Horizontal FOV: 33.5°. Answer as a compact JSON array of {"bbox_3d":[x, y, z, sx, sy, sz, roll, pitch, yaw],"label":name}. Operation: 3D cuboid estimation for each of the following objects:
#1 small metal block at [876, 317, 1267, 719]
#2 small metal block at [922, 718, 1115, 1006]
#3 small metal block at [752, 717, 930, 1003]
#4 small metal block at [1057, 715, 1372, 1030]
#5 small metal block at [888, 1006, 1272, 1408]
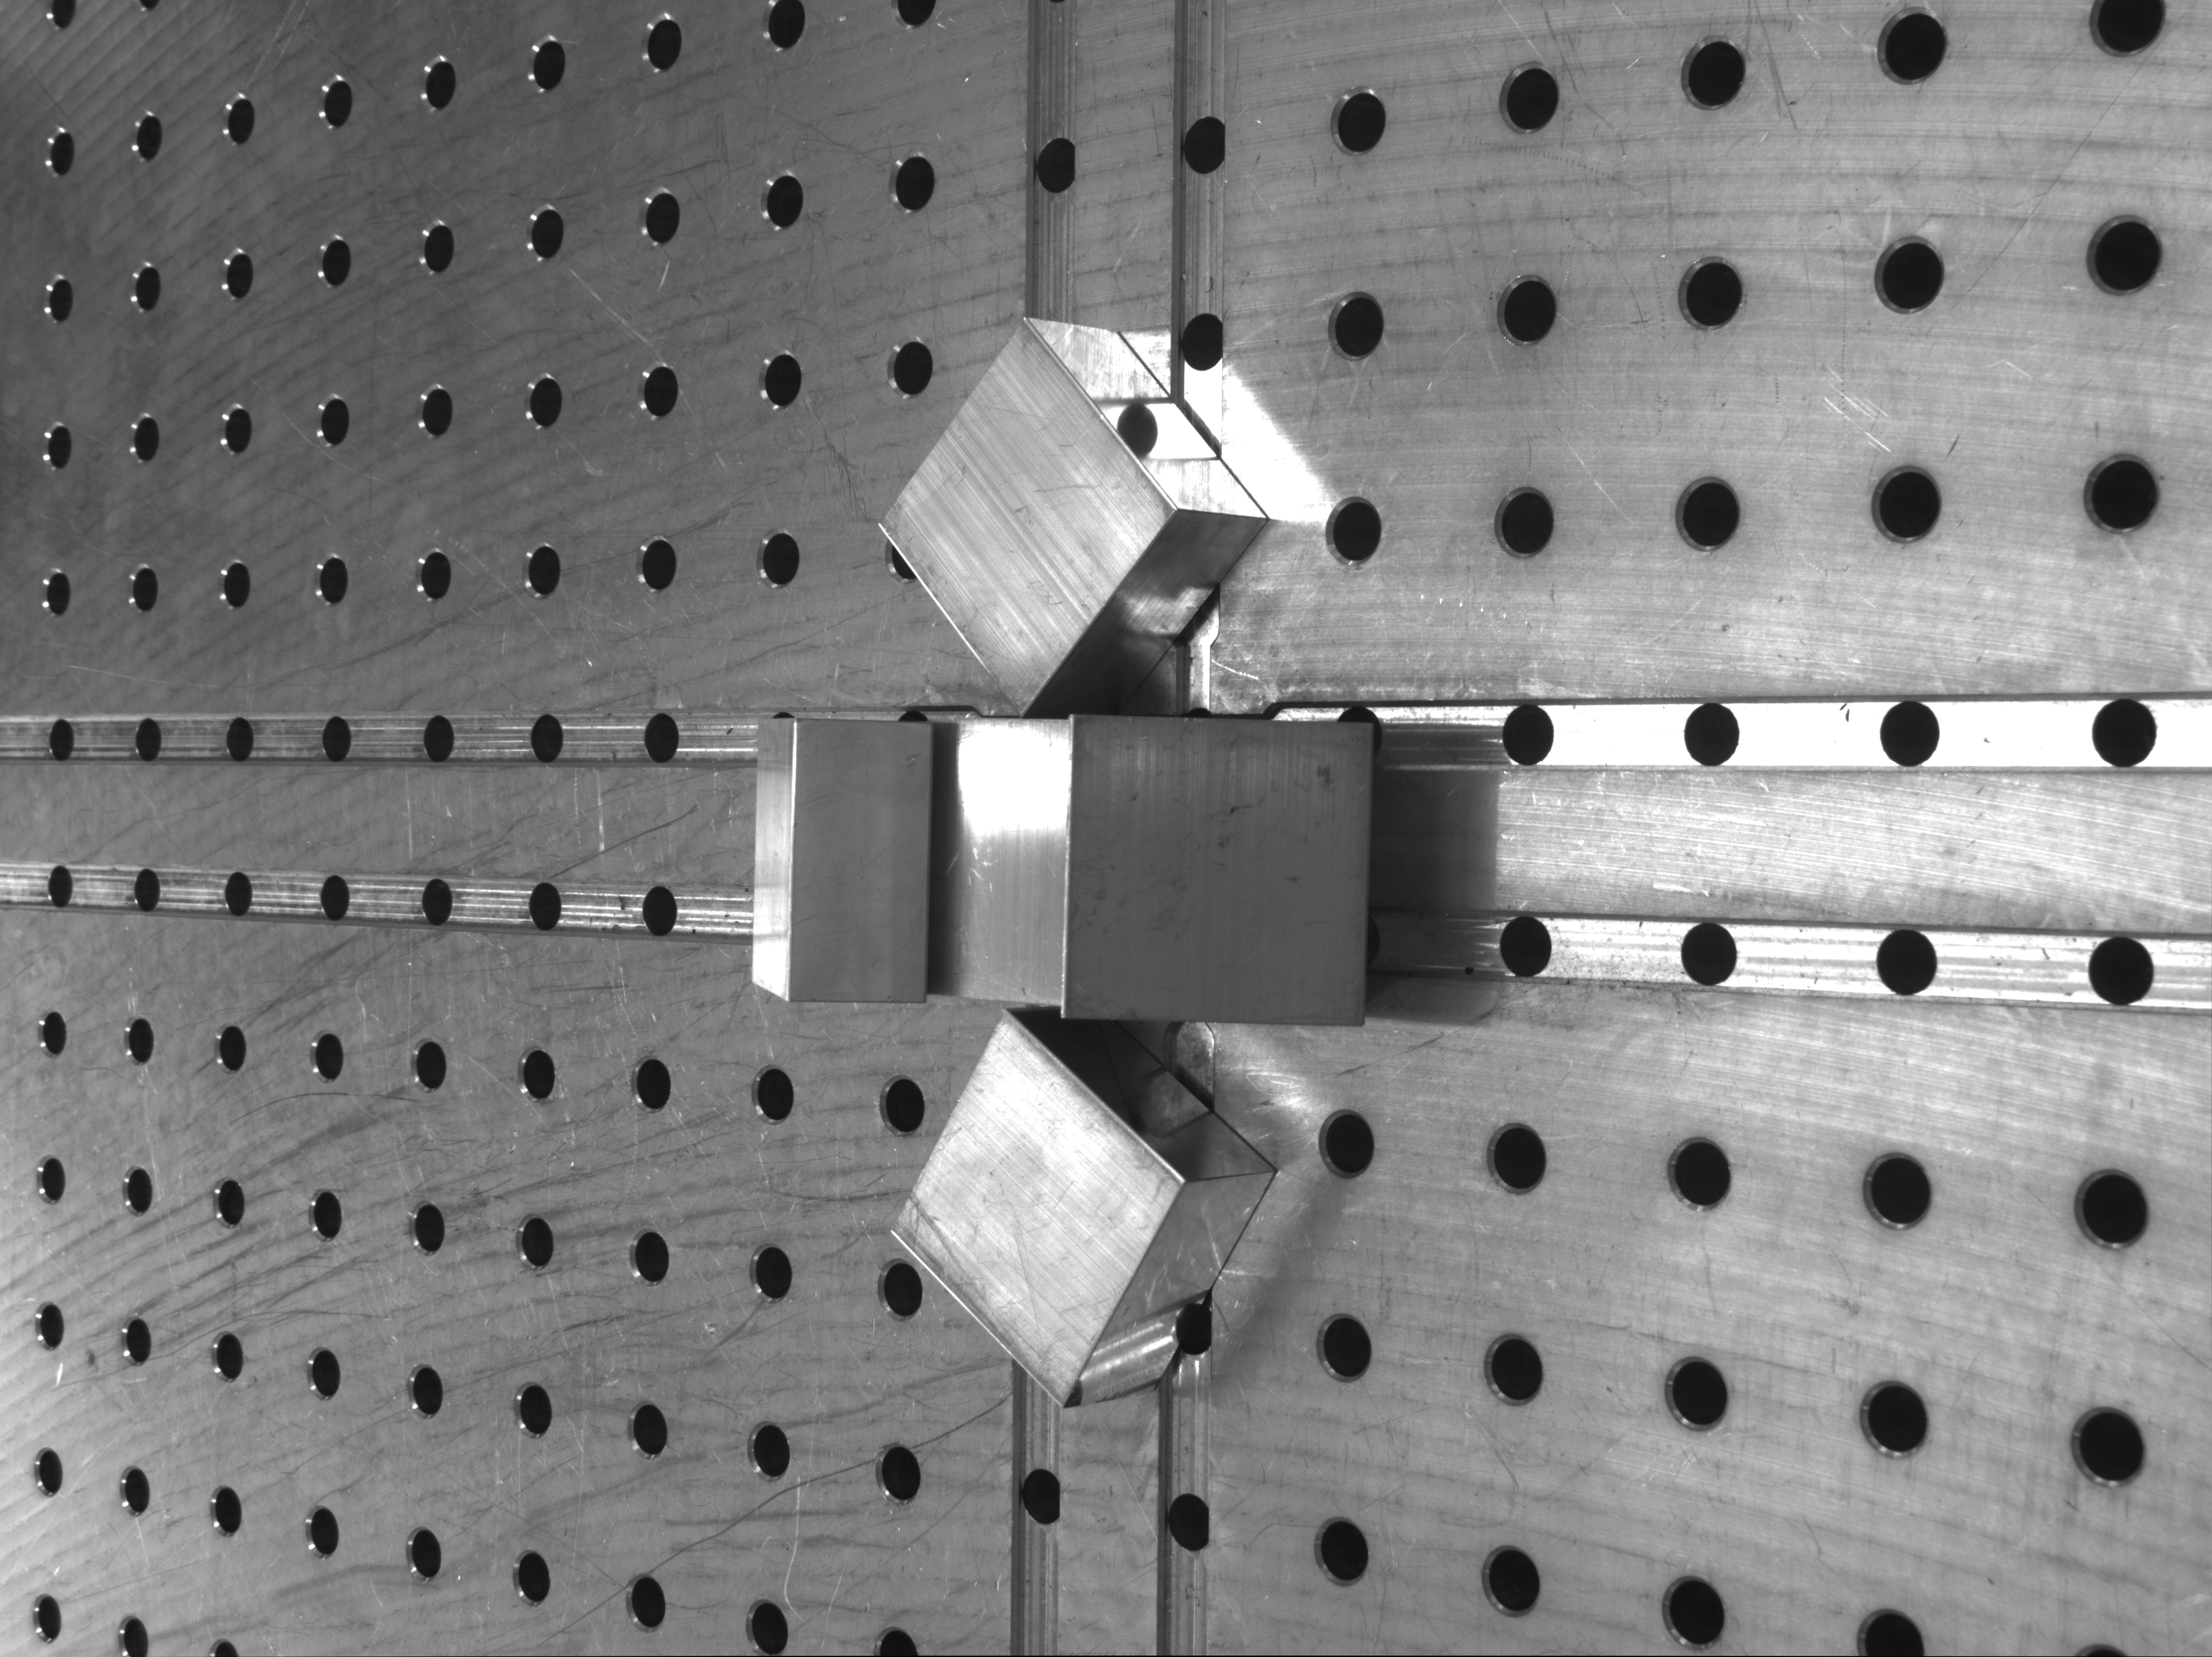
[{"bbox_3d":[-0.007,-0.054,0.655,0.050,0.025,0.050,-51,59,27],"label":"small metal block"},{"bbox_3d":[-0.007,0.006,0.654,0.050,0.025,0.050,2,90,40],"label":"small metal block"},{"bbox_3d":[-0.049,0.005,0.674,0.050,0.025,0.050,-171,82,-77],"label":"small metal block"},{"bbox_3d":[0.018,0.007,0.616,0.050,0.025,0.050,2,91,-1],"label":"small metal block"},{"bbox_3d":[-0.005,0.066,0.653,0.050,0.025,0.050,42,116,34],"label":"small metal block"}]
